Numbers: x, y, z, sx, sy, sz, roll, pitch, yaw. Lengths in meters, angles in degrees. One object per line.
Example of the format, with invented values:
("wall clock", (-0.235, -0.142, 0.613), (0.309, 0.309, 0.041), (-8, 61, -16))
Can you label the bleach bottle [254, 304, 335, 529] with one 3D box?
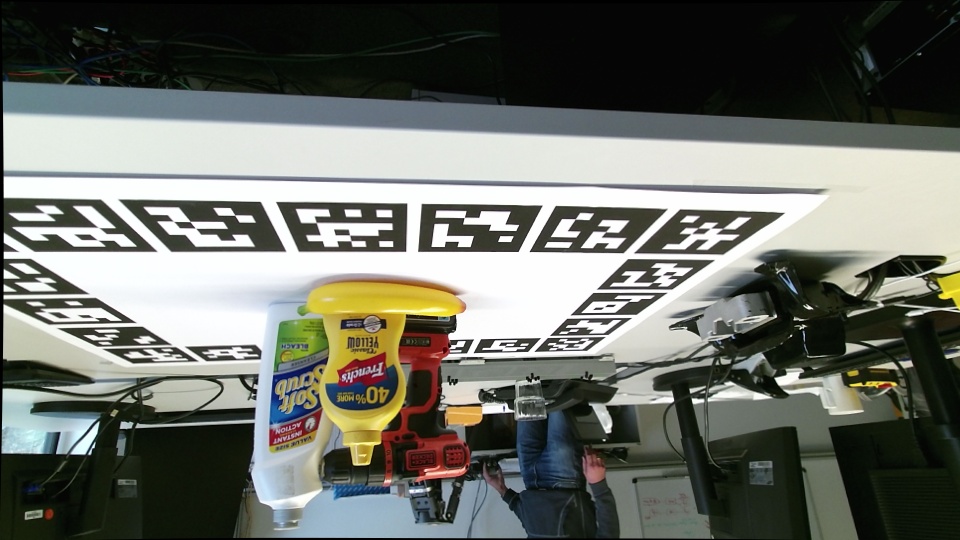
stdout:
("bleach bottle", (-0.210, 0.169, 0.638), (0.103, 0.249, 0.068), (1, 161, -12))

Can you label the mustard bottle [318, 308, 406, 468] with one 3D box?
("mustard bottle", (-0.132, 0.123, 0.608), (0.096, 0.190, 0.058), (1, 155, -10))

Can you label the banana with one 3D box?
("banana", (-0.113, 0.034, 0.620), (0.198, 0.038, 0.074), (0, 154, -15))

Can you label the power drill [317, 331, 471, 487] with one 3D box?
("power drill", (-0.102, 0.172, 0.670), (0.185, 0.186, 0.057), (7, 155, -20))
